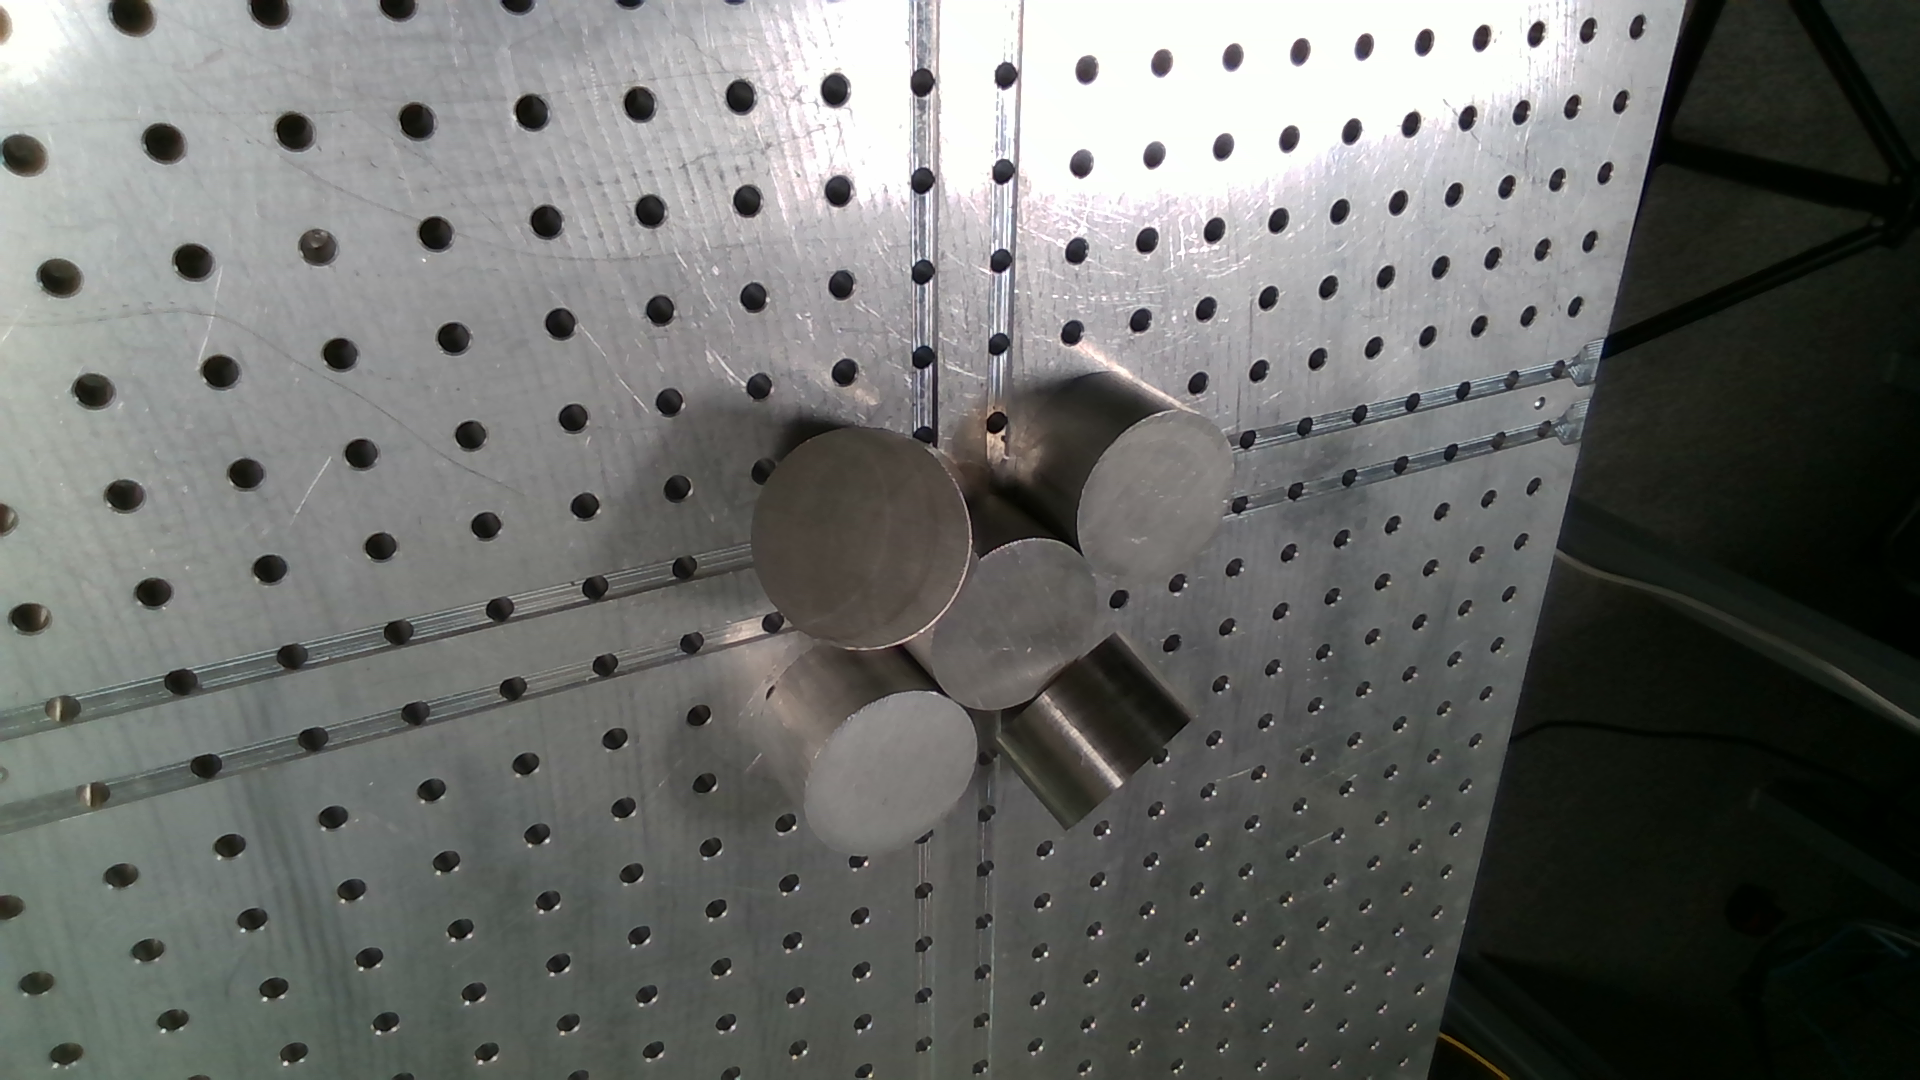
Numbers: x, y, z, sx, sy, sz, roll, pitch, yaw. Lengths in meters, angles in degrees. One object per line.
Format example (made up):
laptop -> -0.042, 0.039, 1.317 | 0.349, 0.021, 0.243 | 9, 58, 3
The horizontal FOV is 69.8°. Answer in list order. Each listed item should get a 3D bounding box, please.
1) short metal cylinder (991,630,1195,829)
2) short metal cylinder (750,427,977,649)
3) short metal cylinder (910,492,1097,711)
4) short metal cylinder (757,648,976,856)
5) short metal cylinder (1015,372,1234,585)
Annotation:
short metal cylinder -> 0.060, 0.086, 0.625 | 0.080, 0.050, 0.080 | -40, 170, -8
short metal cylinder -> -0.034, -0.002, 0.519 | 0.080, 0.050, 0.080 | 0, 93, 5
short metal cylinder -> 0.011, 0.025, 0.588 | 0.080, 0.050, 0.080 | -14, 122, -25
short metal cylinder -> -0.040, 0.087, 0.590 | 0.080, 0.050, 0.080 | -14, 122, -25
short metal cylinder -> 0.071, -0.027, 0.596 | 0.080, 0.050, 0.080 | -14, 122, -25
